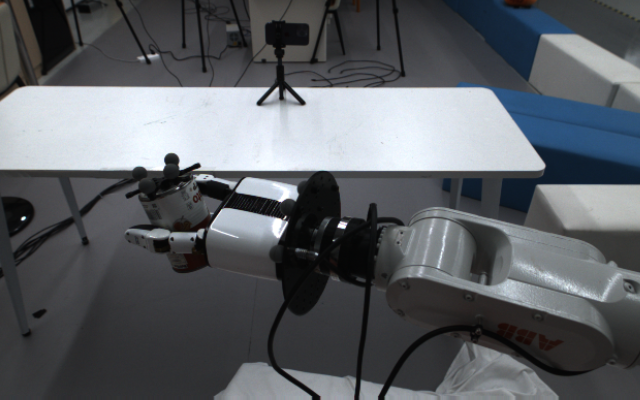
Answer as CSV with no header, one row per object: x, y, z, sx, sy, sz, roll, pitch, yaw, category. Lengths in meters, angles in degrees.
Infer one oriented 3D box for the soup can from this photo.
-0.162,0.028,0.577,0.067,0.101,0.067,-16,23,7,soup can
